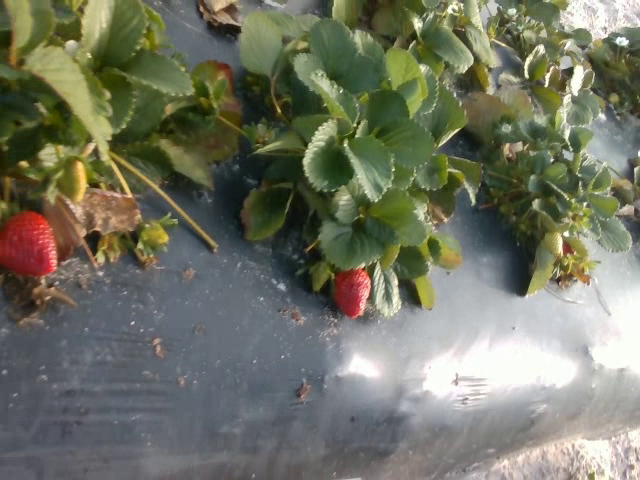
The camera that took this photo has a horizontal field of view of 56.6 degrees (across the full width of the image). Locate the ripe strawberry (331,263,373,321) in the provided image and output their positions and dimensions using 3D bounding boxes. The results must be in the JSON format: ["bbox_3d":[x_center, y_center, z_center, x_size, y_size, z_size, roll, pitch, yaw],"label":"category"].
[{"bbox_3d":[0.019,0.033,0.352,0.029,0.036,0.021,7,-22,-25],"label":"ripe strawberry"}]

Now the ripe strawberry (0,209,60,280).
[{"bbox_3d":[-0.128,0.005,0.262,0.031,0.030,0.026,-37,-11,-32],"label":"ripe strawberry"}]
